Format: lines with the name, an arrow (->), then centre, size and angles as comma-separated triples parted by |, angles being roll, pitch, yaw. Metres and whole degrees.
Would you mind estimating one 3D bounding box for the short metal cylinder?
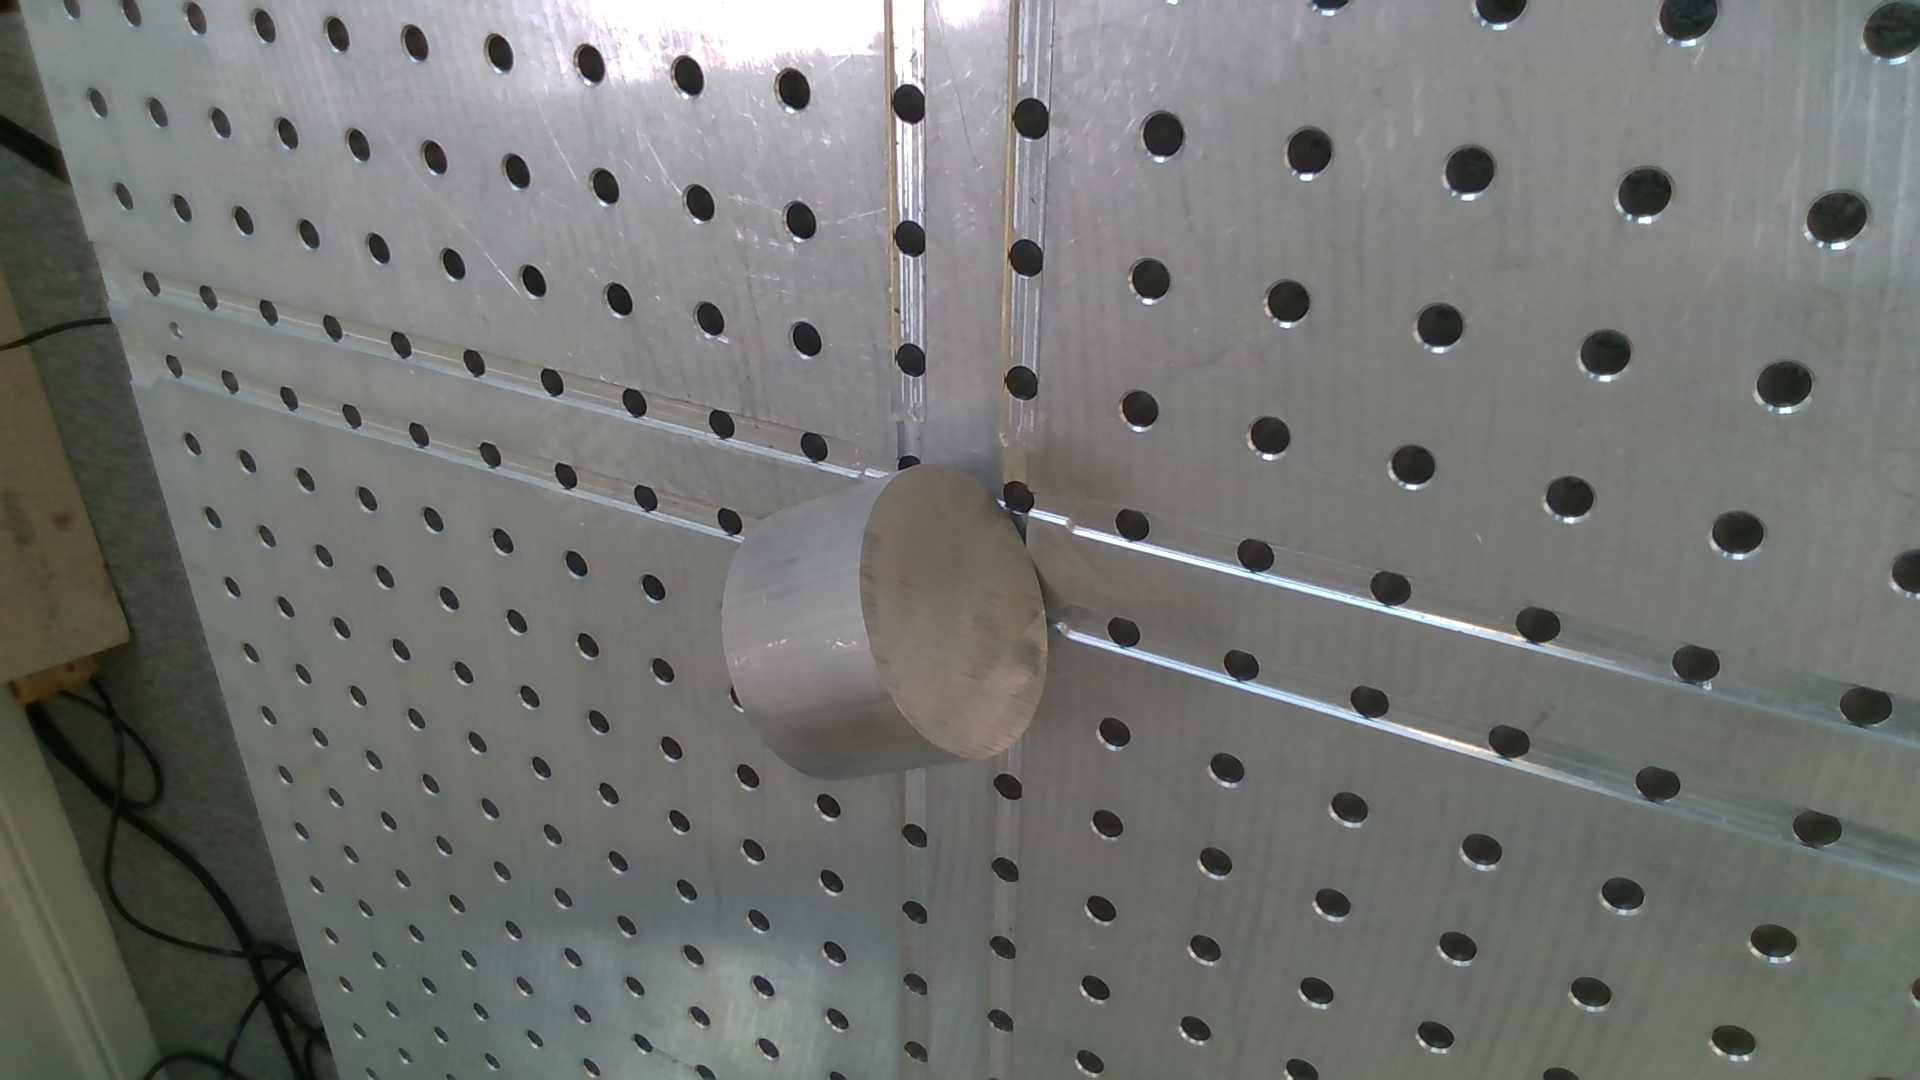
short metal cylinder -> -0.020, 0.023, 0.380 | 0.050, 0.080, 0.080 | -16, 106, 36
